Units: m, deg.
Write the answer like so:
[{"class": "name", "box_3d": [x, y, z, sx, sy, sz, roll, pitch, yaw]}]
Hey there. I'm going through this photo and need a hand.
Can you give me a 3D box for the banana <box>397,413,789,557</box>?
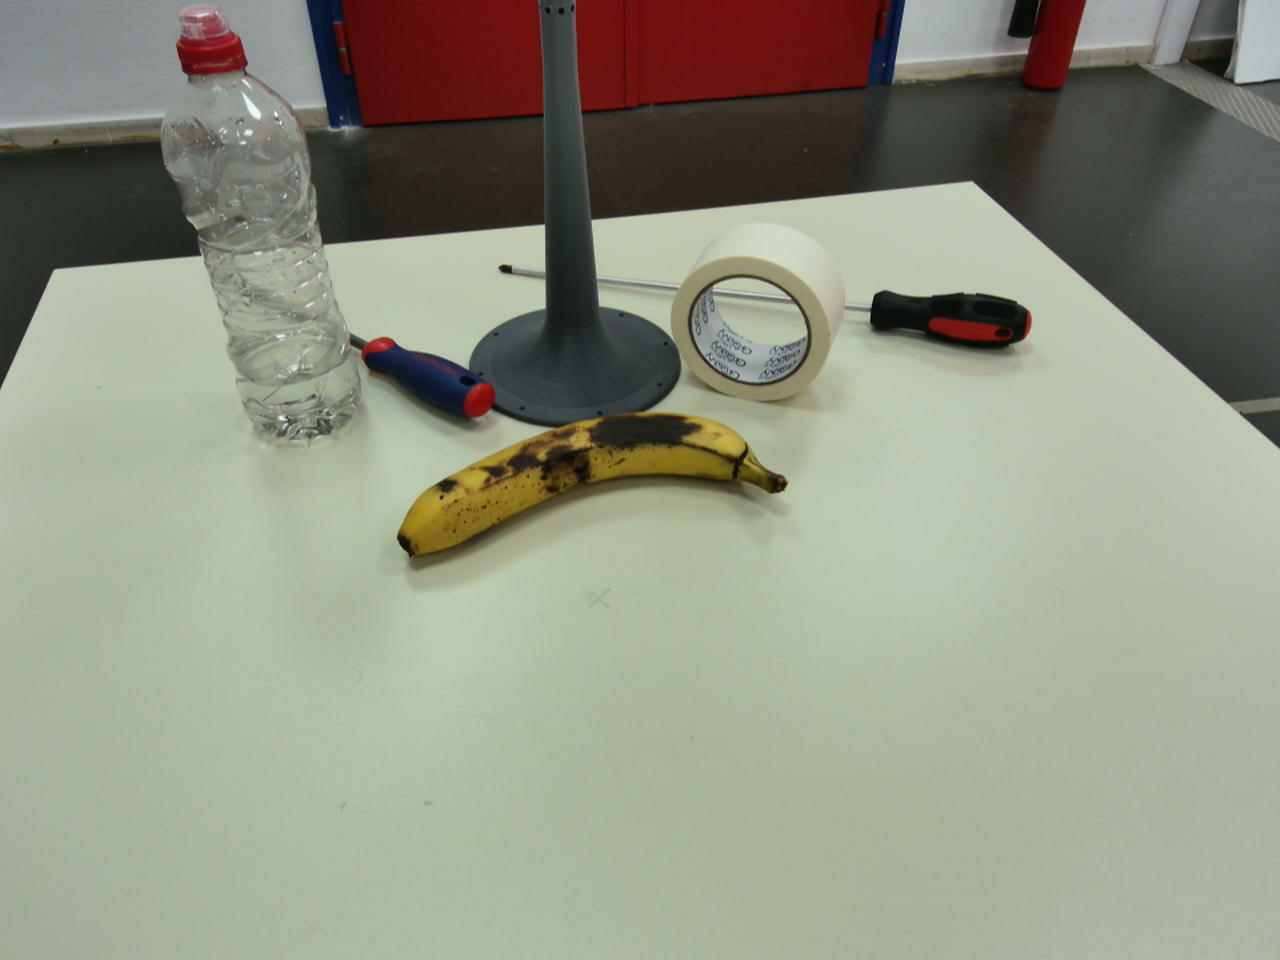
[{"class": "banana", "box_3d": [-0.030, -0.004, 0.587, 0.222, 0.037, 0.084, -8, 40, -10]}]
